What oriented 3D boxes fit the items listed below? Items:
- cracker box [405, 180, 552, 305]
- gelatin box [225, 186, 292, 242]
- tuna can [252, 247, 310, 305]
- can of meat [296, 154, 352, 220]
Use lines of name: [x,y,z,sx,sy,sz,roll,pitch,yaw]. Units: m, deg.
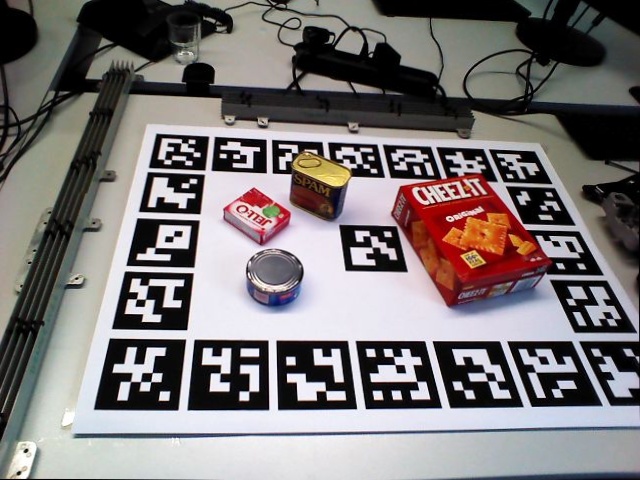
cracker box: [0.254,-0.006,0.867,0.164,0.072,0.213,-10,47,-19]
gelatin box: [-0.104,-0.047,0.875,0.089,0.030,0.073,34,48,19]
tuna can: [-0.060,0.054,0.779,0.086,0.034,0.085,3,49,-4]
can of meat: [0.007,-0.091,0.907,0.102,0.084,0.057,23,47,15]
